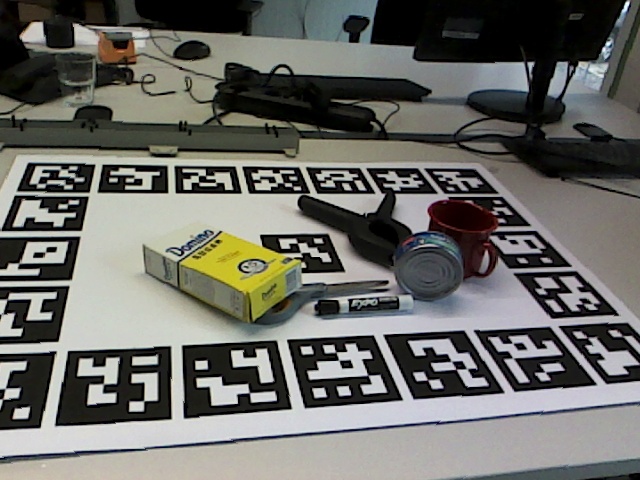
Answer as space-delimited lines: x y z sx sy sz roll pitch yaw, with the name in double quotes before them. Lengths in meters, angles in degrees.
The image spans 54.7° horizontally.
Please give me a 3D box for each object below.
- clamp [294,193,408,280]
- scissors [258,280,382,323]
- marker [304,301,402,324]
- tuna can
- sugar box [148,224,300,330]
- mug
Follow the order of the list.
"clamp" 0.070 -0.009 0.910 0.164 0.036 0.204 -6 35 -23
"scissors" -0.013 0.063 0.767 0.202 0.016 0.088 -6 30 -24
"marker" 0.040 0.087 0.745 0.120 0.019 0.020 -3 34 -16
"tuna can" 0.136 0.040 0.781 0.086 0.085 0.034 9 31 1
"sugar box" -0.119 0.038 0.752 0.177 0.045 0.092 24 34 34
"mug" 0.181 0.014 0.841 0.093 0.081 0.118 -18 37 -36
